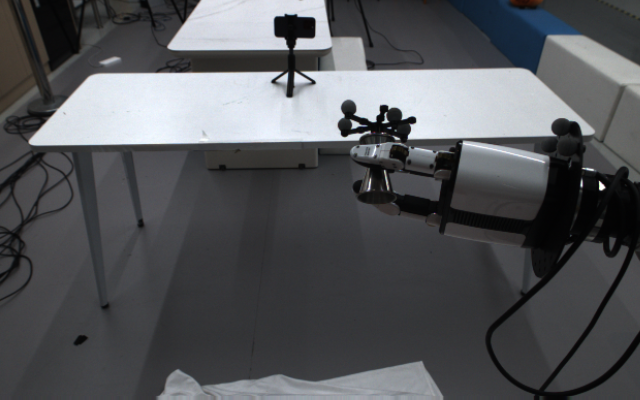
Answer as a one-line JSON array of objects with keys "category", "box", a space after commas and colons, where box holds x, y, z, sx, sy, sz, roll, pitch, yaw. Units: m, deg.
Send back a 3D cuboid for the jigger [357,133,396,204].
[{"category": "jigger", "box": [0.061, -0.035, 0.528, 0.043, 0.043, 0.071, 3, 72, 1]}]
